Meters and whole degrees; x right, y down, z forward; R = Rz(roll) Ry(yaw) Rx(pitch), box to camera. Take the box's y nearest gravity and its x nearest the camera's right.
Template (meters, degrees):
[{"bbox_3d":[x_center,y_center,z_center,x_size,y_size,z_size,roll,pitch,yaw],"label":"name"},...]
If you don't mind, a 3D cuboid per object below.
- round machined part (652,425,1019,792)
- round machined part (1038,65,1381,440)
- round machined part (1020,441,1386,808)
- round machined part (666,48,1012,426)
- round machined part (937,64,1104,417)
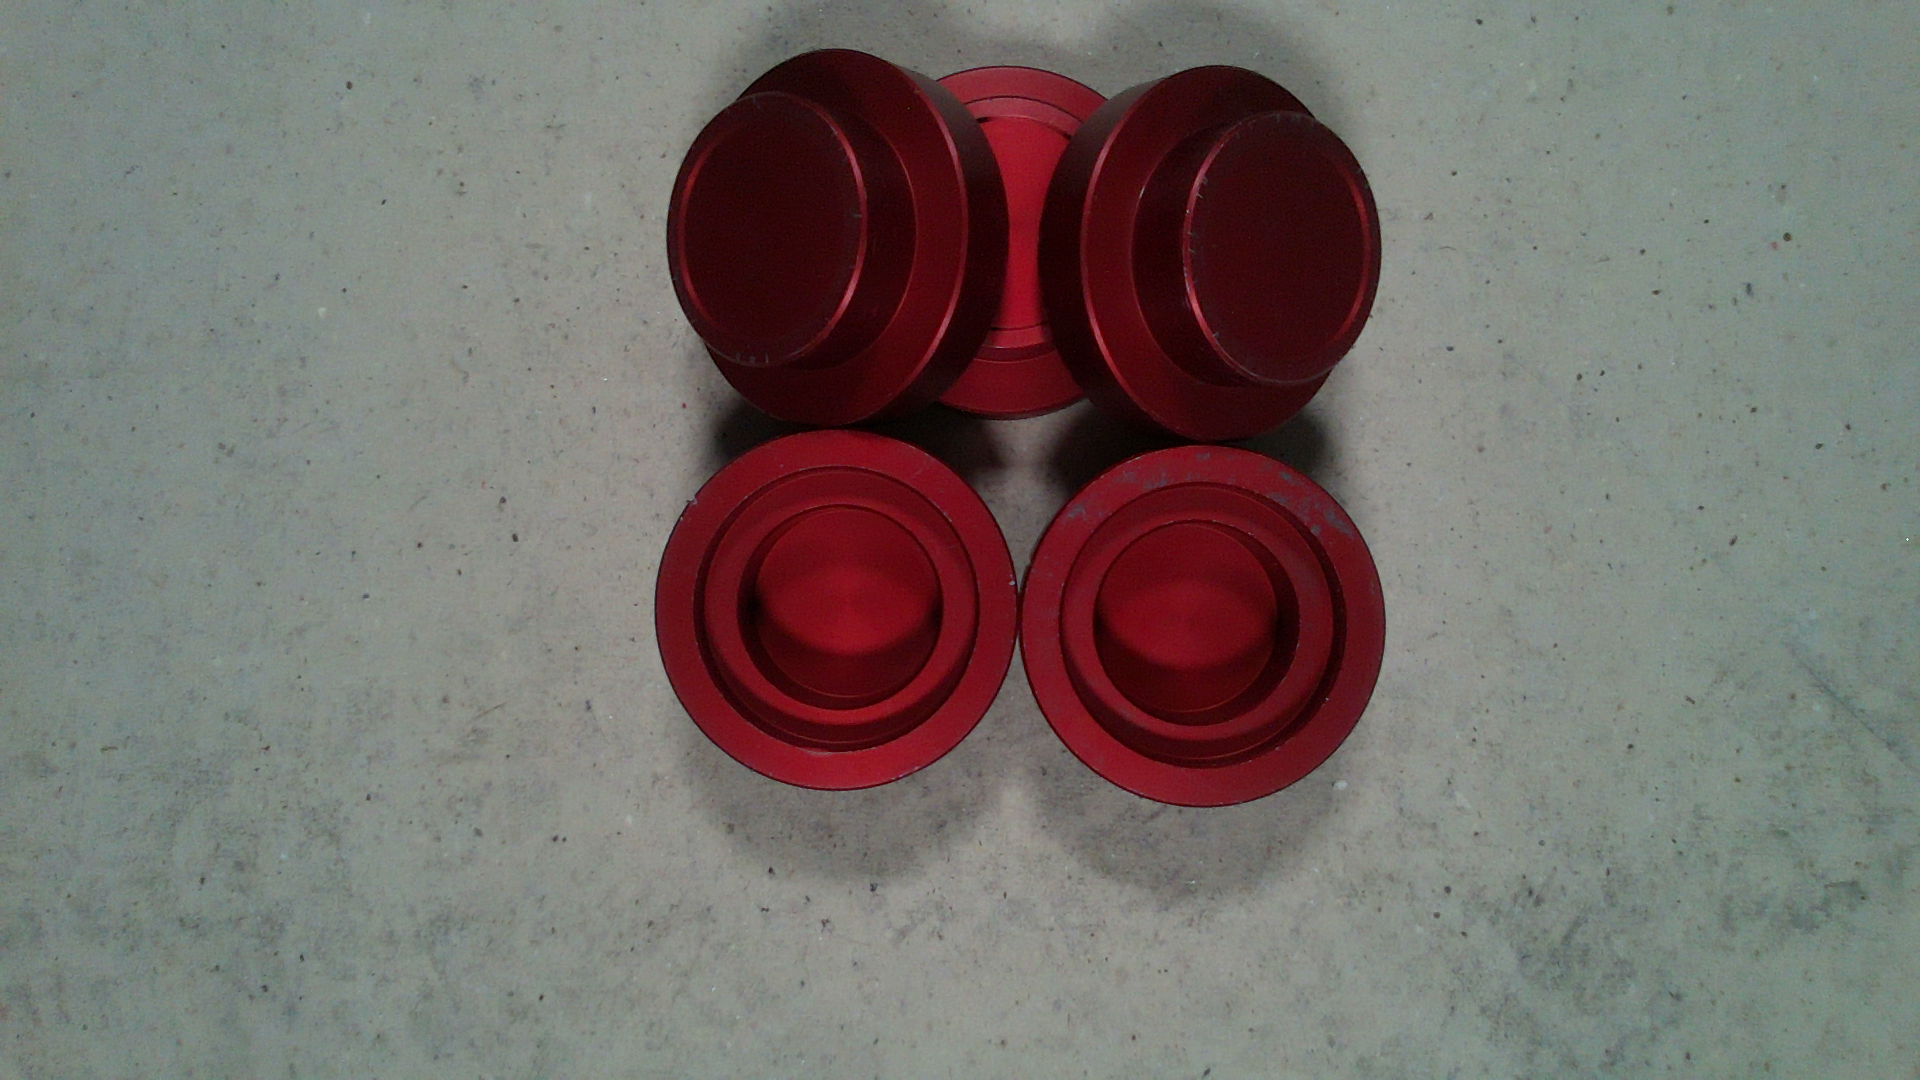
[{"bbox_3d":[-0.033,0.018,0.387,0.098,0.042,0.098,0,90,0],"label":"round machined part"},{"bbox_3d":[0.073,-0.076,0.365,0.098,0.042,0.098,-4,97,-31],"label":"round machined part"},{"bbox_3d":[0.065,0.023,0.387,0.098,0.042,0.098,0,90,0],"label":"round machined part"},{"bbox_3d":[-0.039,-0.079,0.363,0.098,0.042,0.098,3,95,33],"label":"round machined part"},{"bbox_3d":[0.012,-0.085,0.386,0.098,0.042,0.098,0,90,0],"label":"round machined part"}]
